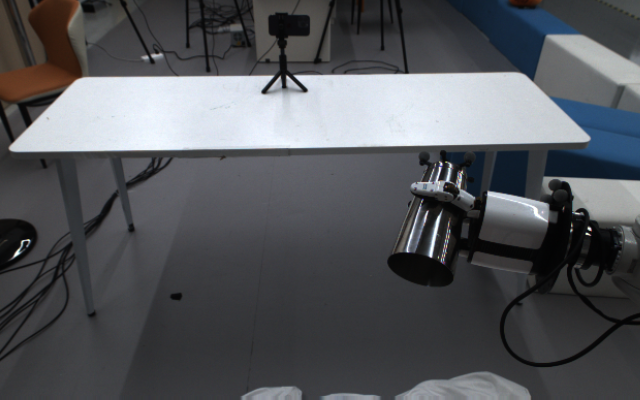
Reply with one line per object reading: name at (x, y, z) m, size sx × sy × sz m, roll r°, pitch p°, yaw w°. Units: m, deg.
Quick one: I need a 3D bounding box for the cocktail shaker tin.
cocktail shaker tin at (0.164, 0.026, 0.698) m, size 0.093 × 0.093 × 0.170 m, roll 14°, pitch 57°, yaw 16°
